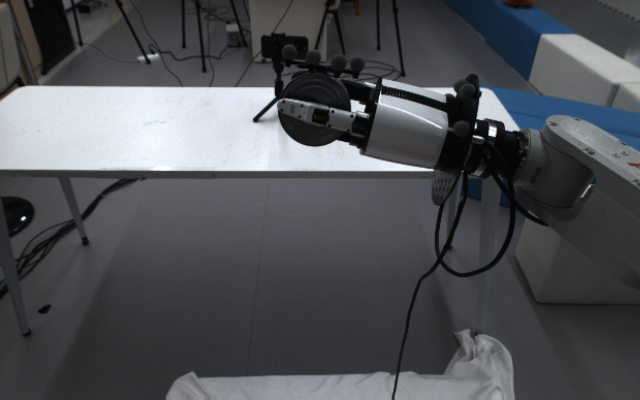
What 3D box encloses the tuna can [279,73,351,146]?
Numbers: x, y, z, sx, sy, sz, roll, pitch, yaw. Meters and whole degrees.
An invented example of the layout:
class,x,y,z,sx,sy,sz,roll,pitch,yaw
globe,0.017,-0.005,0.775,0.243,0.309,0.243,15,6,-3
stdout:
class,x,y,z,sx,sy,sz,roll,pitch,yaw
tuna can,-0.005,-0.110,0.578,0.085,0.085,0.034,5,18,4
